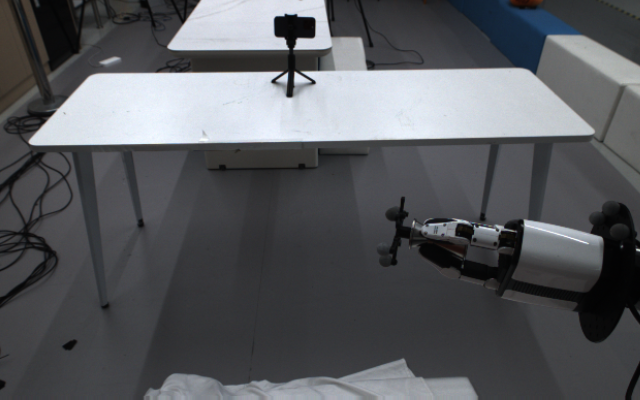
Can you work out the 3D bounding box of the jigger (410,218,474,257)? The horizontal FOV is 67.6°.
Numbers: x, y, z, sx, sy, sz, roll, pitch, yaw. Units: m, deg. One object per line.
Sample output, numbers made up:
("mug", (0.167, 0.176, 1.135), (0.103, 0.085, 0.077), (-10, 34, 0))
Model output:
("jigger", (0.153, 0.044, 0.597), (0.071, 0.043, 0.043), (10, 35, 16))
